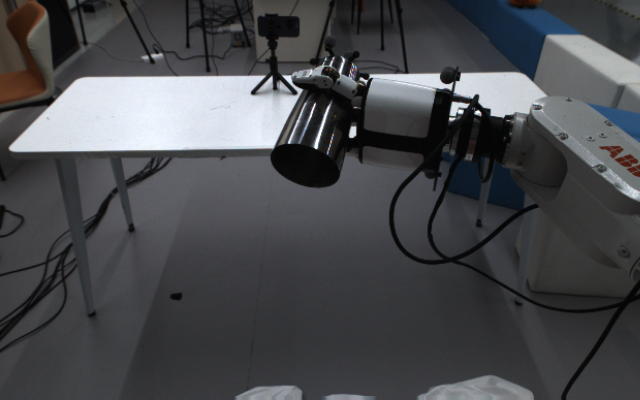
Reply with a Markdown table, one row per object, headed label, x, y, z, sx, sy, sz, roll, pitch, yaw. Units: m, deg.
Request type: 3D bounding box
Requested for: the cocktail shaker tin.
| label | x | y | z | sx | sy | sz | roll | pitch | yaw |
| --- | --- | --- | --- | --- | --- | --- | --- | --- | --- |
| cocktail shaker tin | 0.005 | -0.112 | 0.647 | 0.093 | 0.093 | 0.170 | 10 | 60 | 12 |
